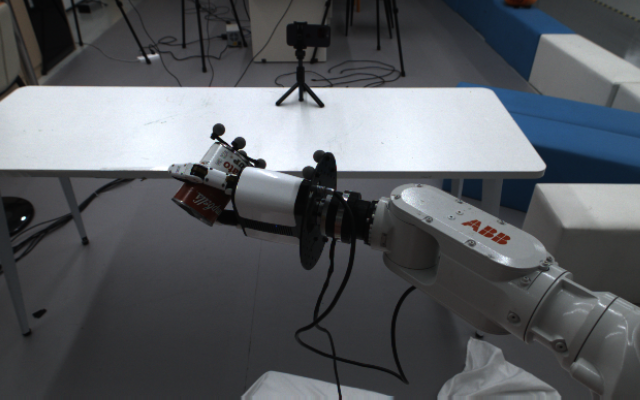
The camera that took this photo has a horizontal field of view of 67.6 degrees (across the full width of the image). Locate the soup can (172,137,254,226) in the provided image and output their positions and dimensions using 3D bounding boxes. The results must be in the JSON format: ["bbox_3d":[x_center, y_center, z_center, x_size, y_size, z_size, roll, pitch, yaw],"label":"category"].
[{"bbox_3d":[-0.151,-0.022,0.679,0.067,0.067,0.101,25,73,29],"label":"soup can"}]
